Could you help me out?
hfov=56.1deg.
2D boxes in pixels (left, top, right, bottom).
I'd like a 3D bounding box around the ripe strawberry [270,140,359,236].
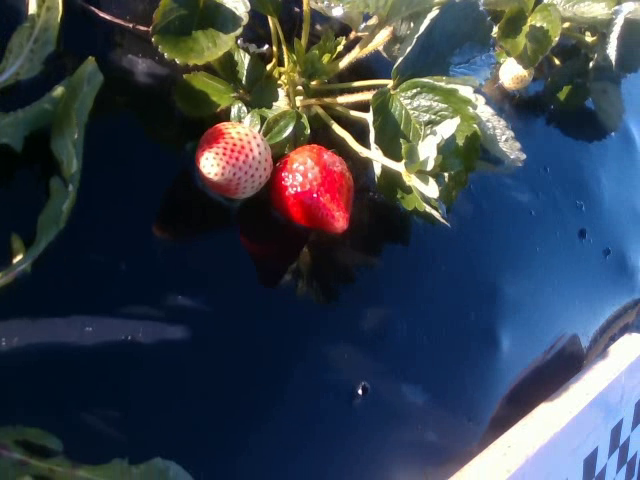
[{"bbox_3d":[0.004,-0.018,0.245,0.040,0.038,0.056,-21,29,-13],"label":"ripe strawberry"}]
